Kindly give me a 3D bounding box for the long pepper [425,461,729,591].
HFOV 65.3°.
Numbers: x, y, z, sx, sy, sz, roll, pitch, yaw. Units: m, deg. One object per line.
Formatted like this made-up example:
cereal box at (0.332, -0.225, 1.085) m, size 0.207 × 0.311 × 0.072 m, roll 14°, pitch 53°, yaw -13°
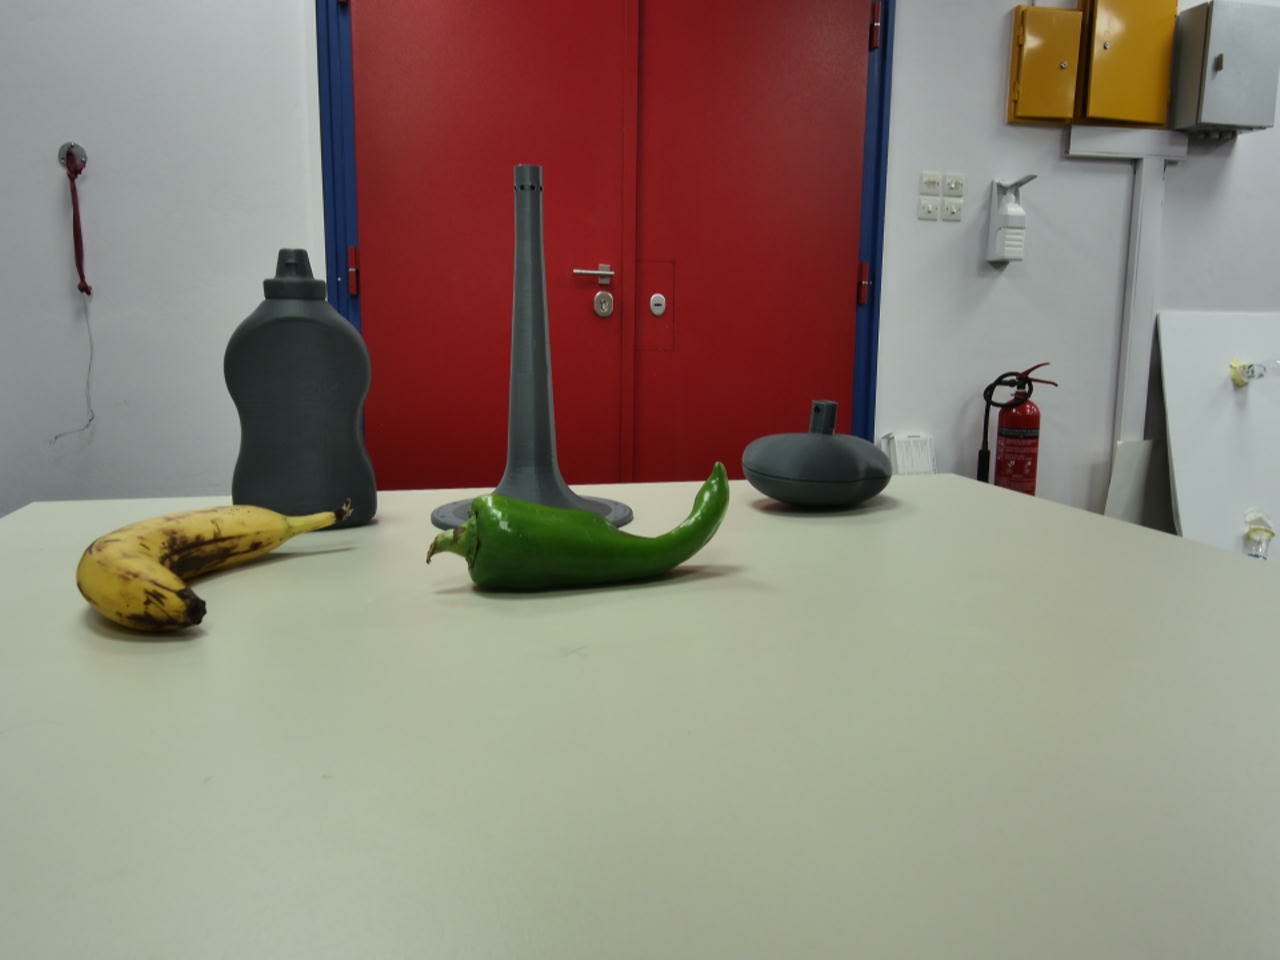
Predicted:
long pepper at (-0.029, 0.025, 0.553) m, size 0.175 × 0.065 × 0.058 m, roll -2°, pitch 7°, yaw -15°
